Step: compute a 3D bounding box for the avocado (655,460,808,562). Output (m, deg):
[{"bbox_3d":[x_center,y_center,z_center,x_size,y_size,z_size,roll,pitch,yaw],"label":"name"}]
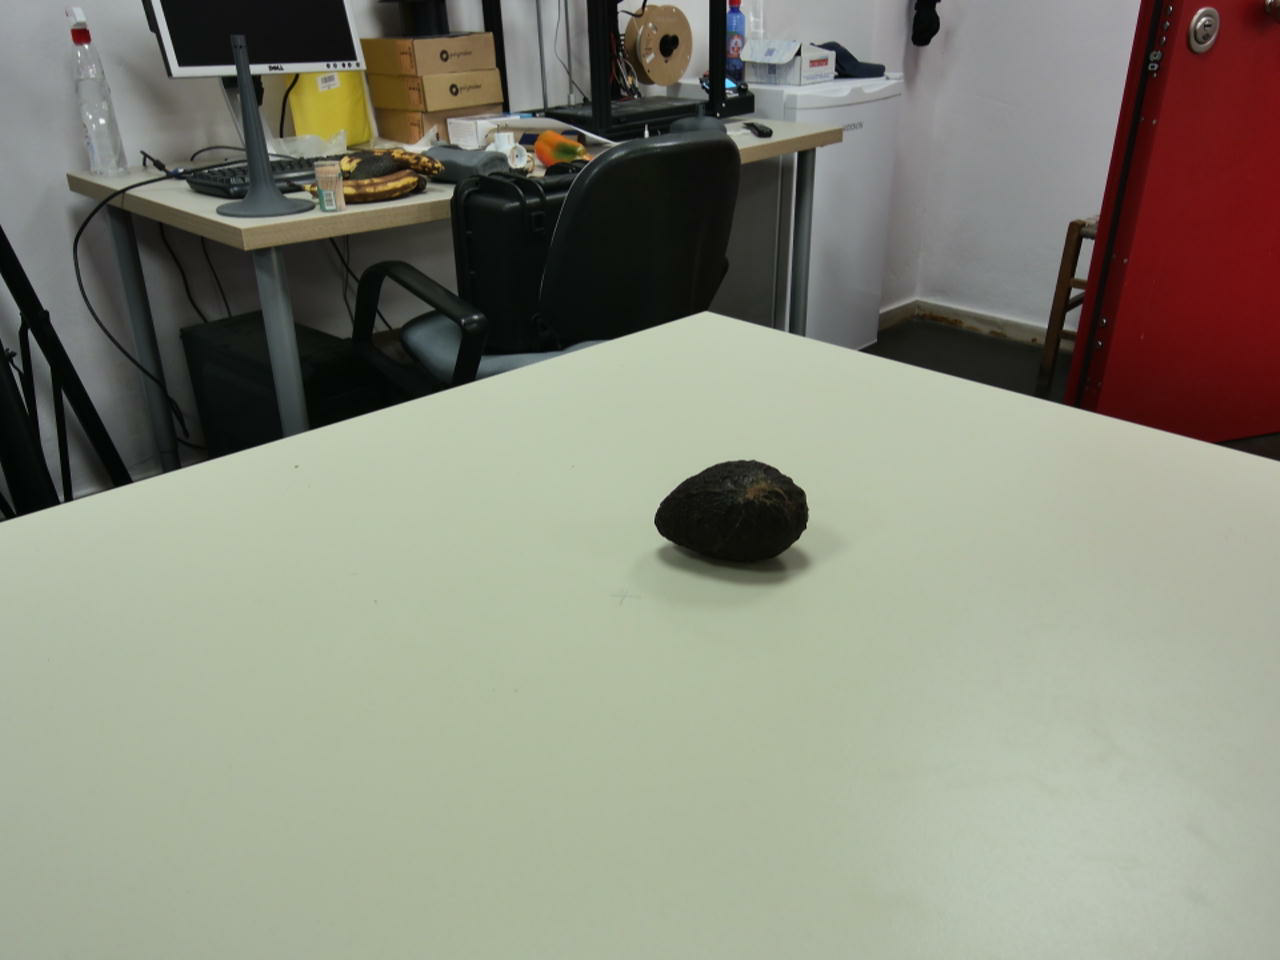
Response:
[{"bbox_3d":[0.057,0.018,0.611,0.092,0.062,0.062,11,26,21],"label":"avocado"}]
